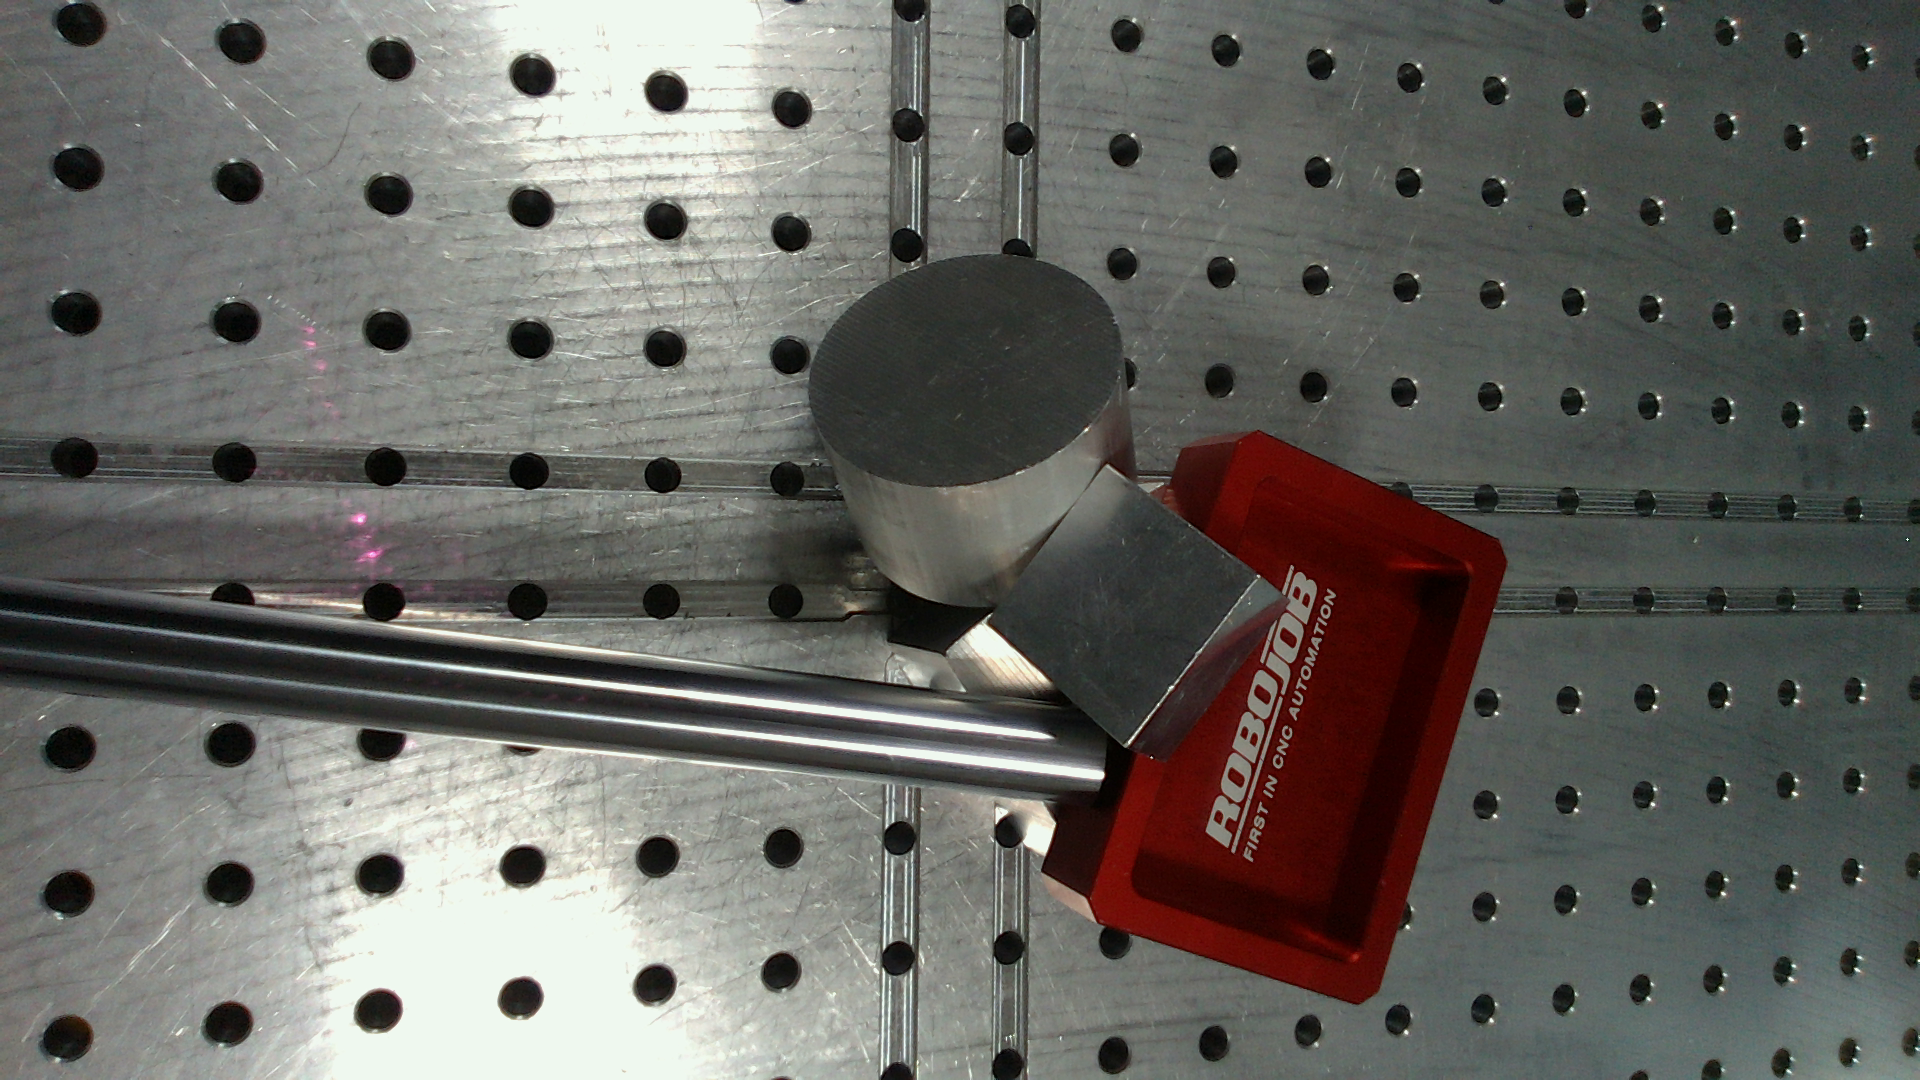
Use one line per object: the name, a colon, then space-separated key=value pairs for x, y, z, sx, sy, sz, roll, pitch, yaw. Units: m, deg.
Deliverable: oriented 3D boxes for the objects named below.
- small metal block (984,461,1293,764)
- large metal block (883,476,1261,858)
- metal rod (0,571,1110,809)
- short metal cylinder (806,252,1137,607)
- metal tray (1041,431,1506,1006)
small metal block: x=0.043 y=0.018 z=0.335 sx=0.050 sy=0.050 sz=0.025 roll=-53 pitch=147 yaw=5
large metal block: x=0.038 y=0.038 z=0.395 sx=0.080 sy=0.050 sz=0.080 roll=-37 pitch=102 yaw=-16
metal rod: x=-0.113 y=0.034 z=0.324 sx=0.300 sy=0.025 sz=0.025 roll=8 pitch=87 yaw=-9
short metal cylinder: x=0.005 y=-0.030 z=0.362 sx=0.080 sy=0.080 sz=0.050 roll=-37 pitch=144 yaw=-16
metal tray: x=0.085 y=0.047 z=0.368 sx=0.090 sy=0.030 sz=0.130 roll=22 pitch=83 yaw=-18
